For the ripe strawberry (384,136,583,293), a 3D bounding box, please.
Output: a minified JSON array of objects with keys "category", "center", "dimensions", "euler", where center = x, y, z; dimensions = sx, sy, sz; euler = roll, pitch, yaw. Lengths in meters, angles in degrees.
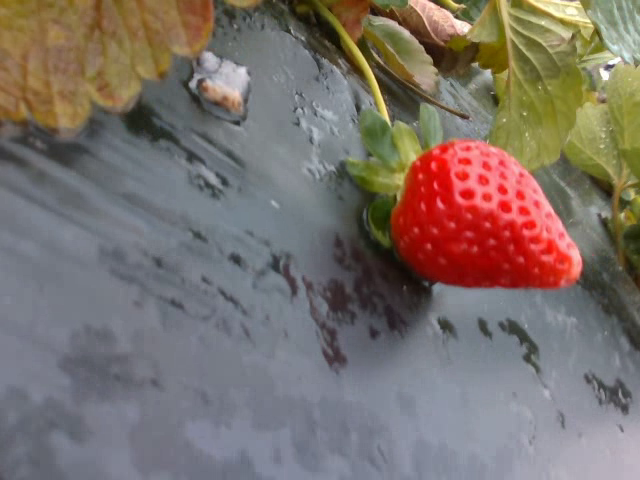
[{"category":"ripe strawberry","center":[0.043,-0.003,0.153],"dimensions":[0.045,0.048,0.054],"euler":[-6,39,-30]}]
